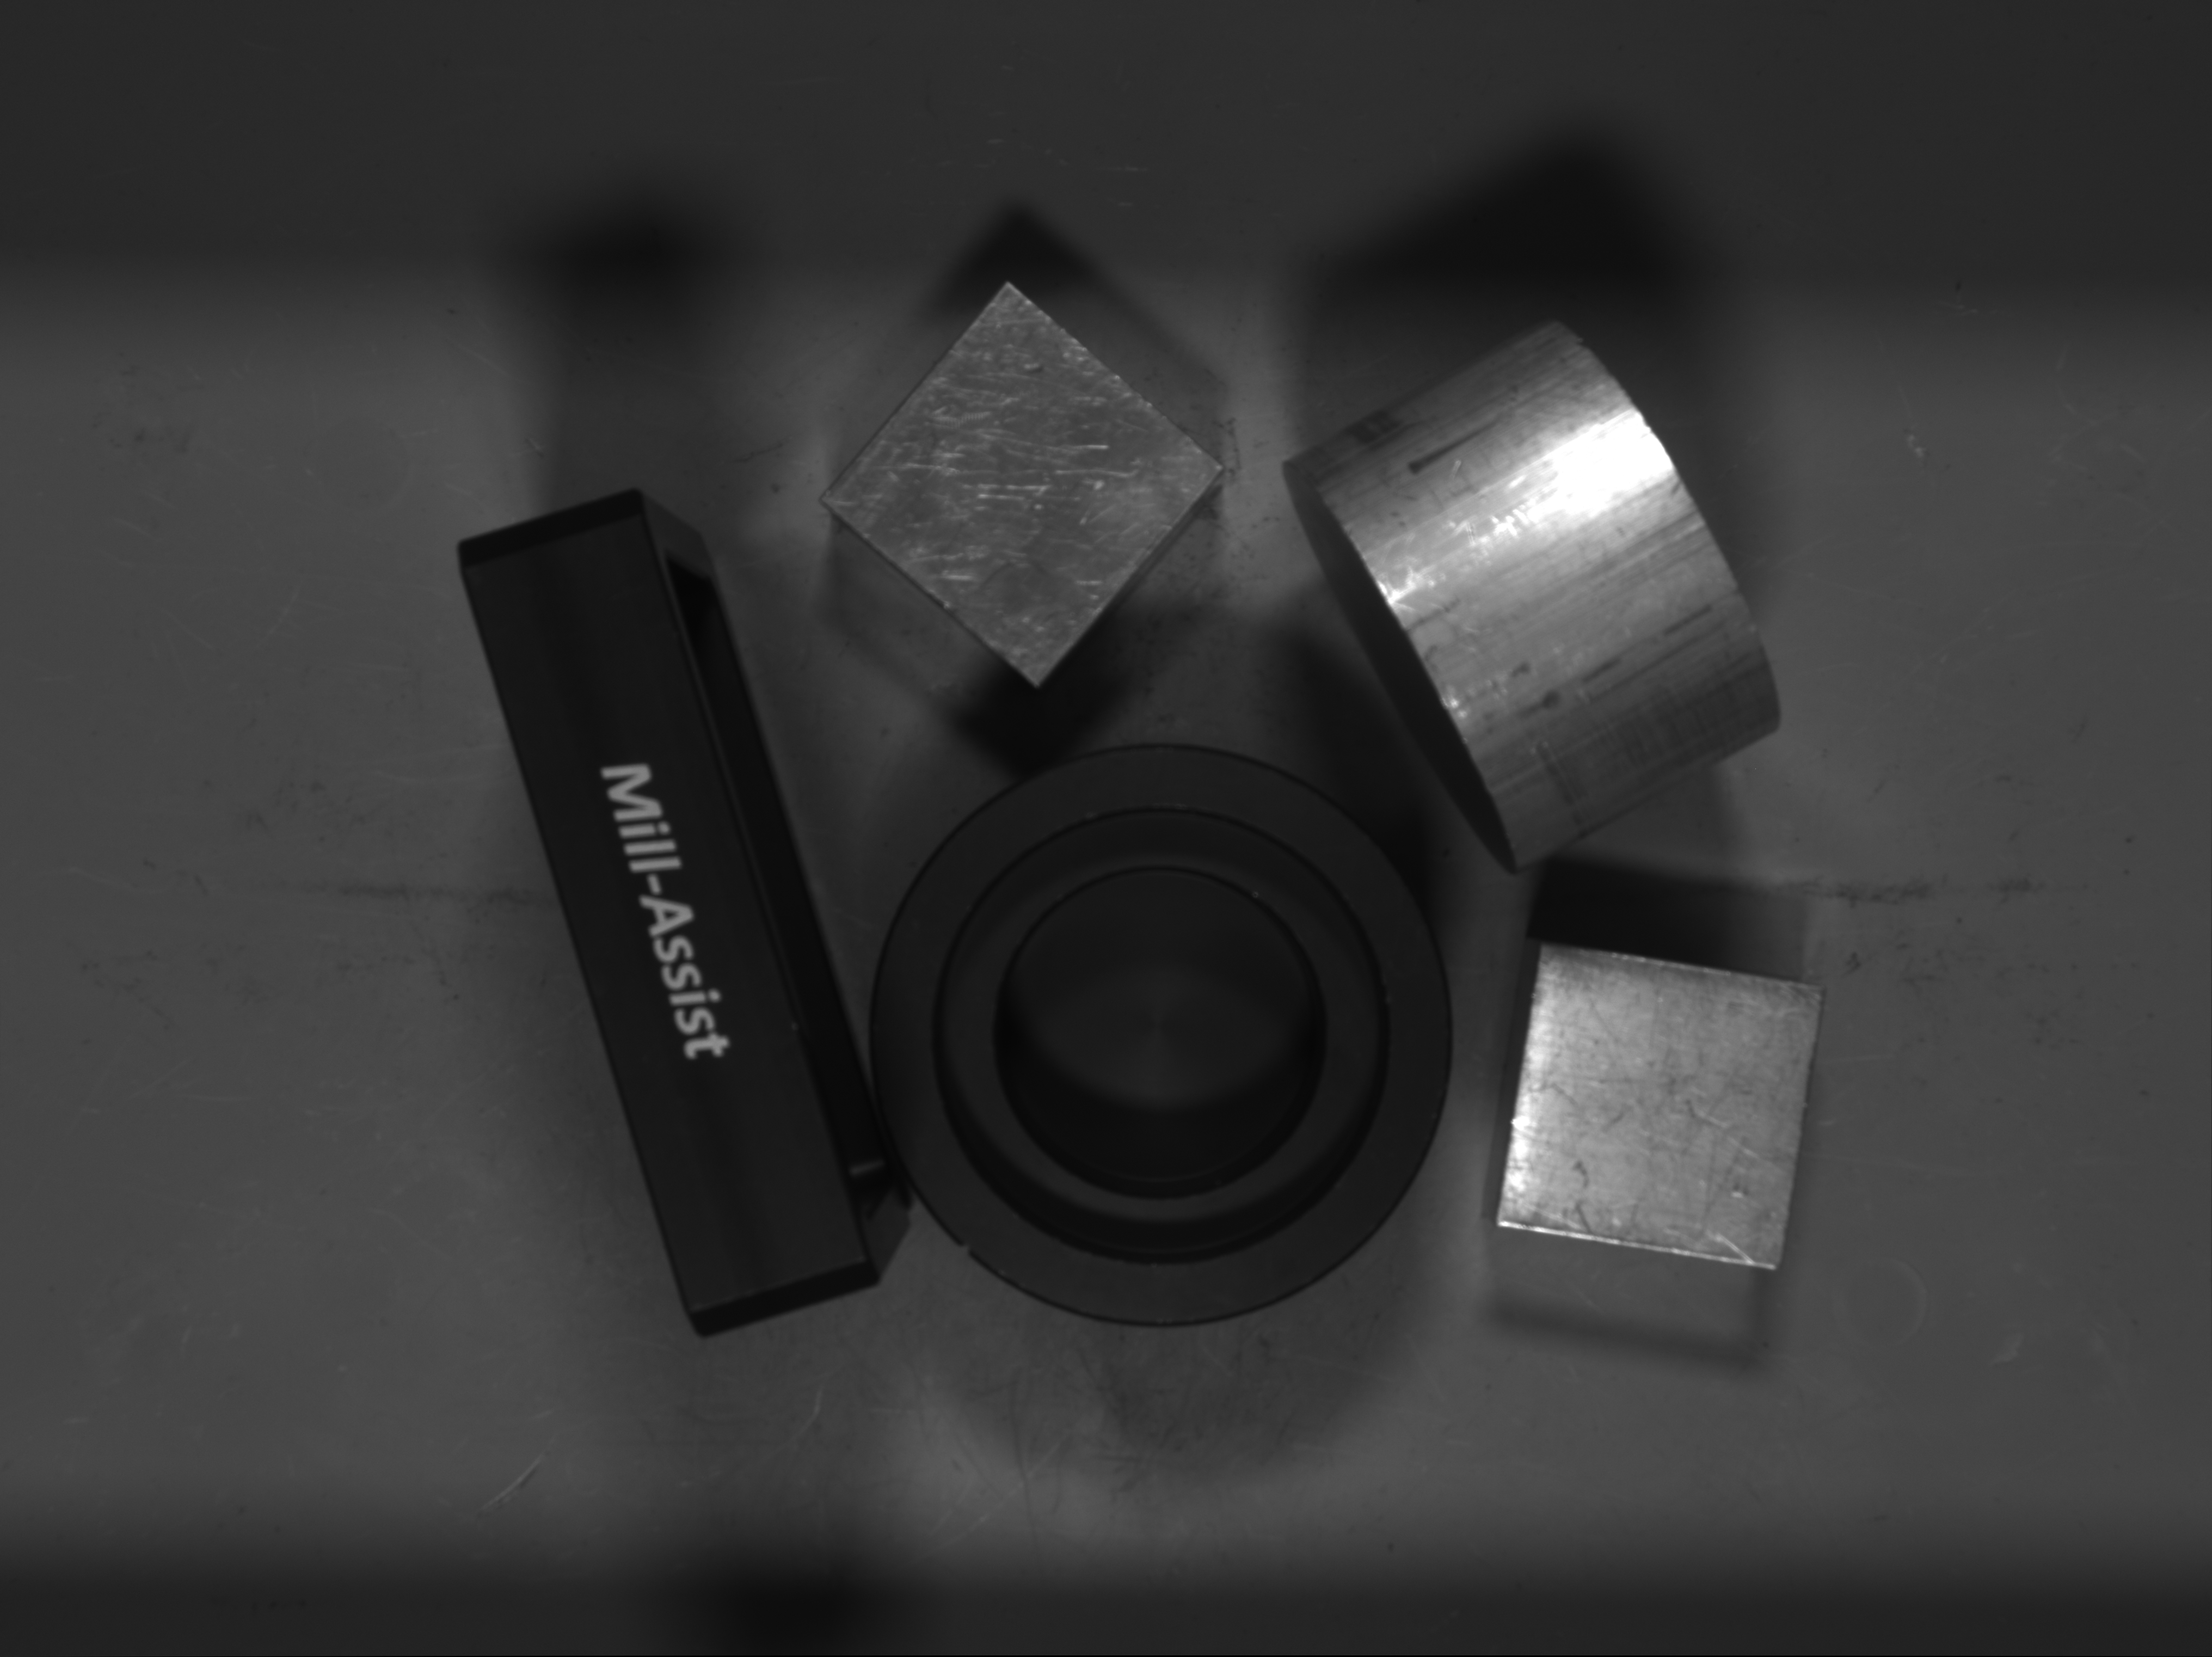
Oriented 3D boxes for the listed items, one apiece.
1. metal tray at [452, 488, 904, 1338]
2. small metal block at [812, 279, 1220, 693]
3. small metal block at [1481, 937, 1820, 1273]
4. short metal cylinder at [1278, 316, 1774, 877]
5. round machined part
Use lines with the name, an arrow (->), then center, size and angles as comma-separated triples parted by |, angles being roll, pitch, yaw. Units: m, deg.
metal tray -> -0.069, 0.013, 0.611 | 0.030, 0.090, 0.130 | -17, 90, 0
small metal block -> -0.015, -0.059, 0.644 | 0.050, 0.025, 0.050 | 40, 90, 1
small metal block -> 0.095, 0.048, 0.645 | 0.050, 0.025, 0.050 | 9, 89, 1
short metal cylinder -> 0.070, -0.039, 0.617 | 0.050, 0.080, 0.080 | -29, 90, 0
round machined part -> 0.008, 0.035, 0.634 | 0.098, 0.042, 0.098 | 0, 90, 0
